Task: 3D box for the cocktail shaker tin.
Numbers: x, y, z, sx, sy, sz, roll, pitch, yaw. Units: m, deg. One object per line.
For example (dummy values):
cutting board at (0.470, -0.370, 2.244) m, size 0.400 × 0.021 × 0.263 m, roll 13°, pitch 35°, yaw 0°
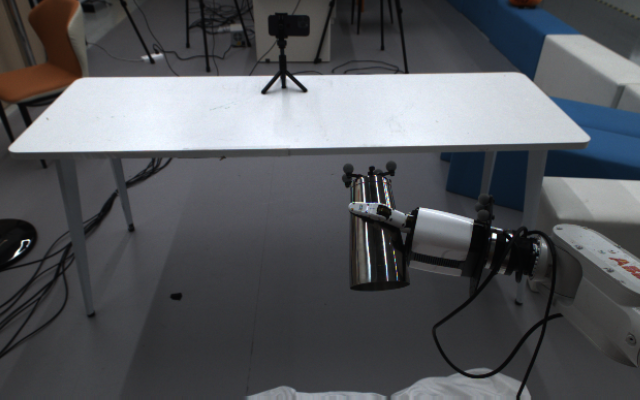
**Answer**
cocktail shaker tin at (0.085, 0.051, 0.760) m, size 0.093 × 0.093 × 0.170 m, roll -2°, pitch 70°, yaw -5°
